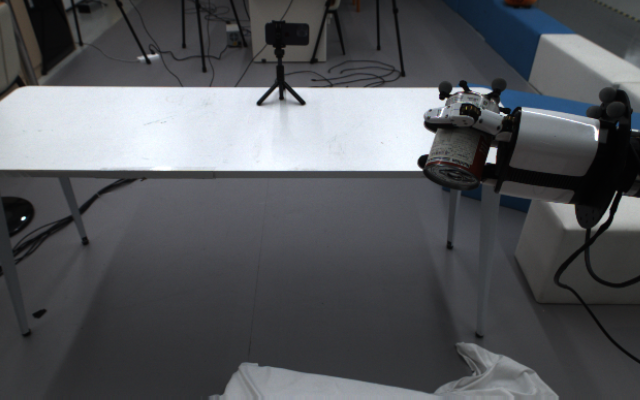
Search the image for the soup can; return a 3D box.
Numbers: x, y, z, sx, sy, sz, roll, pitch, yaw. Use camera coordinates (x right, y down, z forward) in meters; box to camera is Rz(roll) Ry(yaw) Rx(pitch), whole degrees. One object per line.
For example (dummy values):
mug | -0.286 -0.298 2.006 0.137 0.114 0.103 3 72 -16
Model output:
soup can | 0.175 -0.073 0.590 0.067 0.067 0.101 15 75 18
